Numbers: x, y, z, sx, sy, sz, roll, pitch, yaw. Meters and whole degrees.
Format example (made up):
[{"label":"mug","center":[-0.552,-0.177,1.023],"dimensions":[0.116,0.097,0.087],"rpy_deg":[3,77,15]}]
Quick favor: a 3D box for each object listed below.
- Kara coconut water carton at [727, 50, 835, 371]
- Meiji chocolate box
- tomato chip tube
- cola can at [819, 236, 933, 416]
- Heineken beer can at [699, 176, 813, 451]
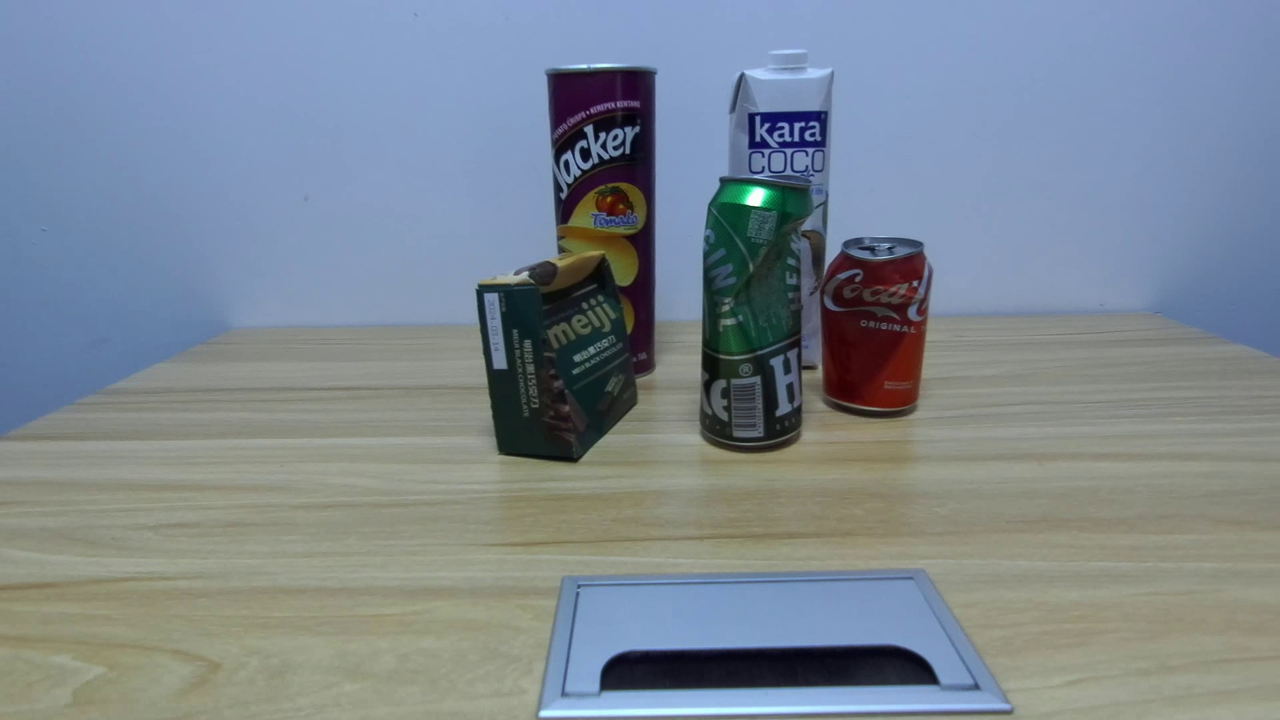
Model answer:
[{"label":"Kara coconut water carton","center":[0.111,-0.118,0.573],"dimensions":[0.077,0.245,0.075],"rpy_deg":[-1,17,3]},{"label":"Meiji chocolate box","center":[-0.053,-0.005,0.469],"dimensions":[0.058,0.111,0.113],"rpy_deg":[-3,14,18]},{"label":"tomato chip tube","center":[-0.026,-0.104,0.562],"dimensions":[0.080,0.234,0.077],"rpy_deg":[3,16,16]},{"label":"cola can","center":[0.166,-0.024,0.489],"dimensions":[0.072,0.117,0.066],"rpy_deg":[14,22,40]},{"label":"Heineken beer can","center":[0.070,-0.028,0.435],"dimensions":[0.078,0.164,0.066],"rpy_deg":[-2,16,-13]}]
